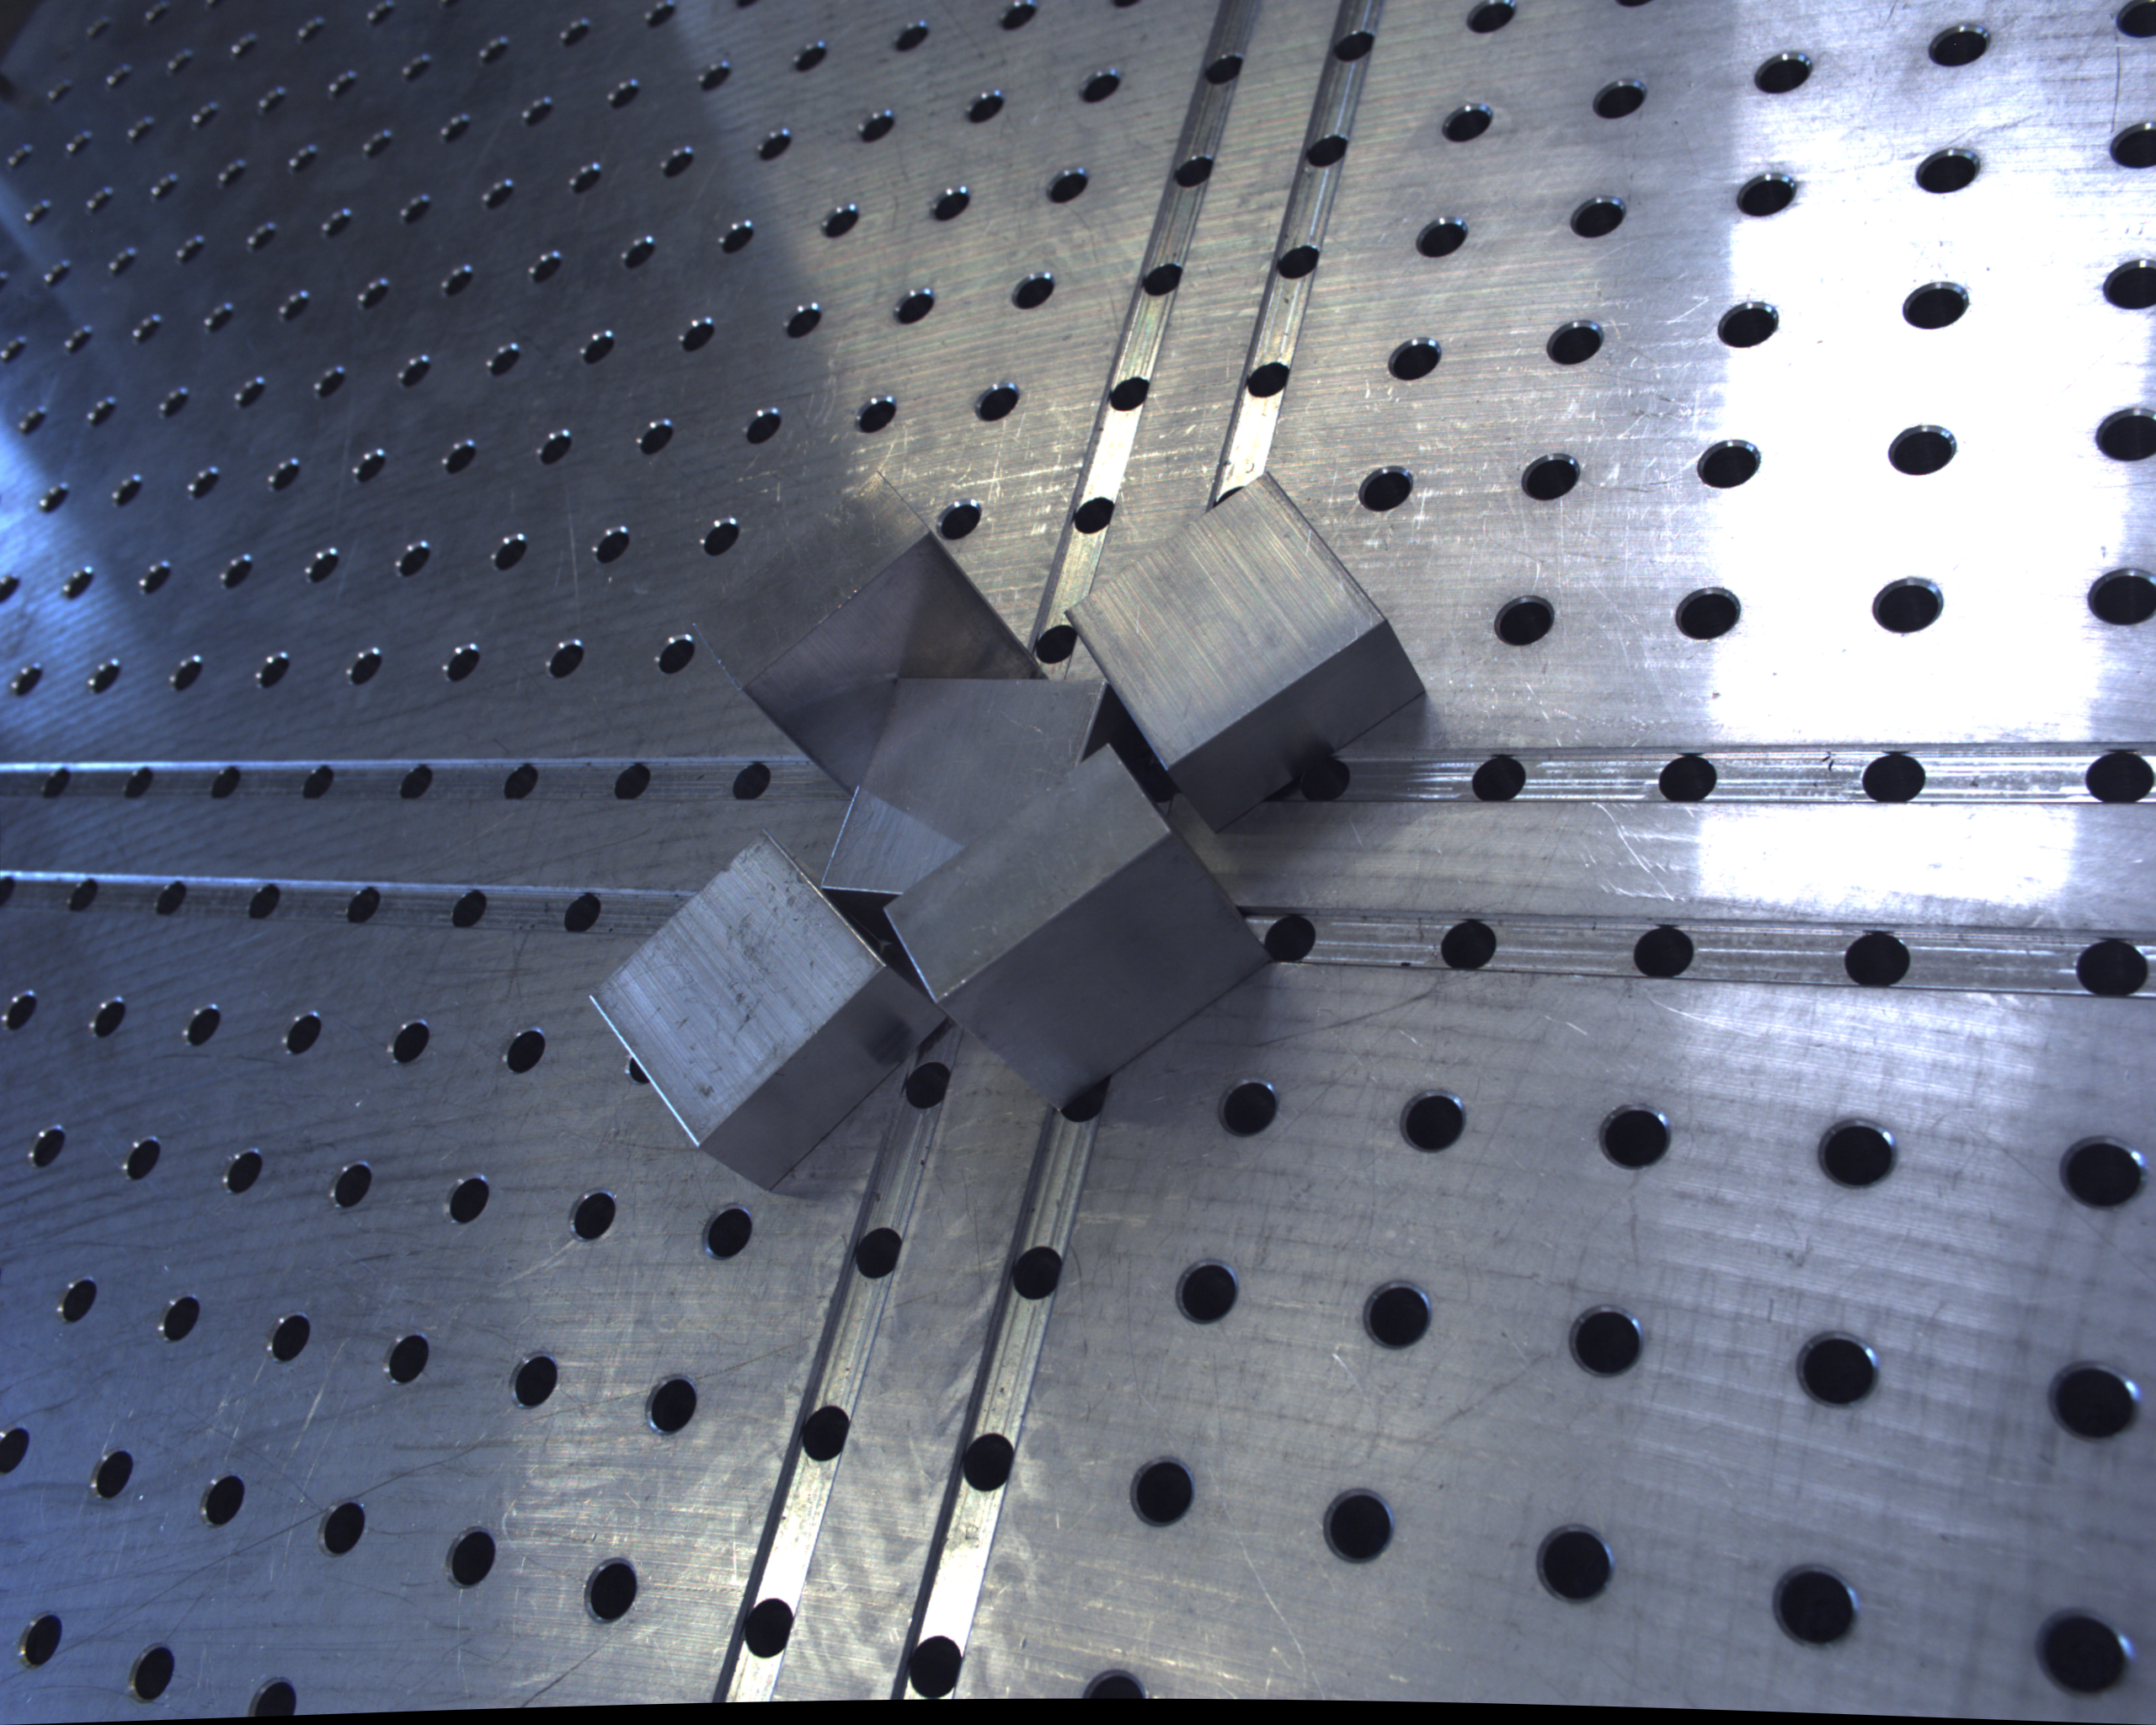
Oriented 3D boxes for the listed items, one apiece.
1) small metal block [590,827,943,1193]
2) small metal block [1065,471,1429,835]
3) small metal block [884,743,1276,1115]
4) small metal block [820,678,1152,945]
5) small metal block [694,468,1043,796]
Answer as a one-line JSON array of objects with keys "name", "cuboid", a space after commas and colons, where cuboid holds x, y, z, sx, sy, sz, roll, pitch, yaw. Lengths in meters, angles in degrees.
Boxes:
[{"name": "small metal block", "cuboid": [-0.063, 0.029, 0.424, 0.050, 0.025, 0.050, -44, 51, -3]}, {"name": "small metal block", "cuboid": [0.033, -0.042, 0.417, 0.050, 0.025, 0.050, -35, 51, 6]}, {"name": "small metal block", "cuboid": [0.001, 0.013, 0.384, 0.050, 0.050, 0.025, -36, 51, 4]}, {"name": "small metal block", "cuboid": [-0.017, -0.010, 0.423, 0.050, 0.025, 0.050, 3, 62, 31]}, {"name": "small metal block", "cuboid": [-0.044, -0.047, 0.444, 0.050, 0.050, 0.025, -40, 52, 2]}]
